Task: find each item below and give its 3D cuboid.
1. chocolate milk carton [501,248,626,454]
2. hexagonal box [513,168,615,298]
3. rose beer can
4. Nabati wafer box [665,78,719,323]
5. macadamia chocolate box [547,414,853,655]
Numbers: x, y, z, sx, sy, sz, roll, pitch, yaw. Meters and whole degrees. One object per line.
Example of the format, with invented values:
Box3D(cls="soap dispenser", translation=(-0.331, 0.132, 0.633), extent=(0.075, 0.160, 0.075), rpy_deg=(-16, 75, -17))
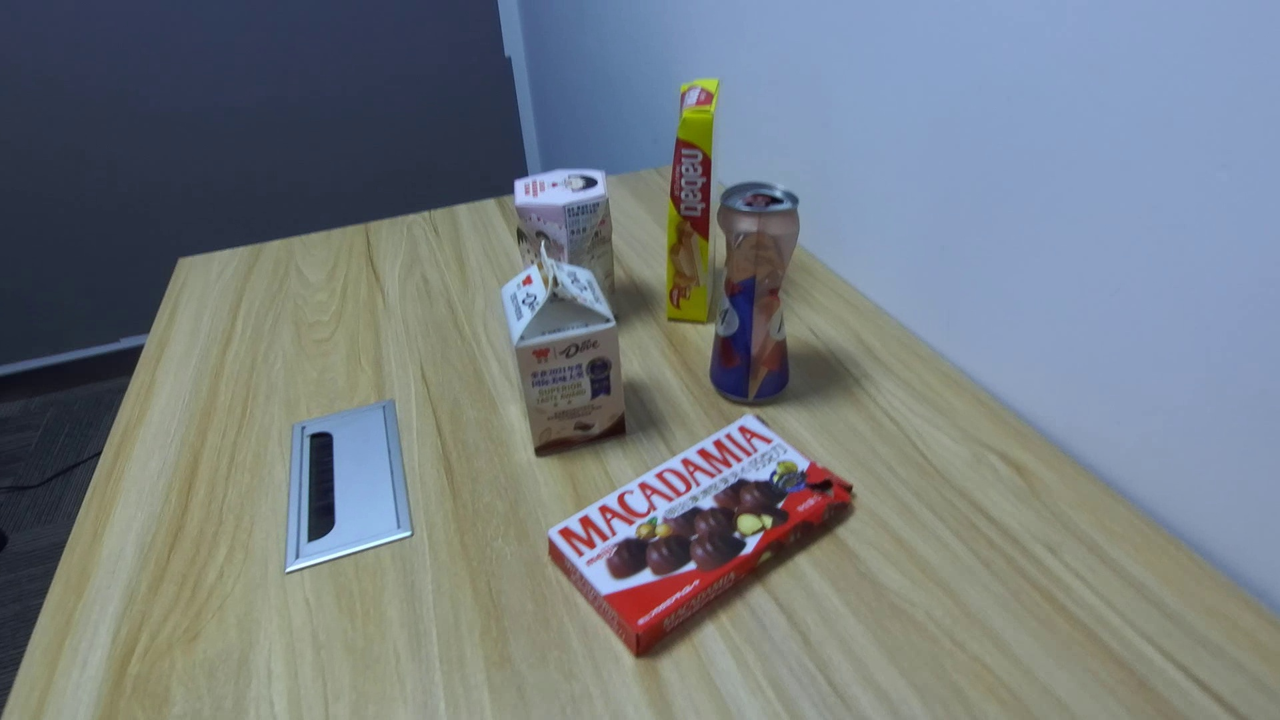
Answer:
Box3D(cls="chocolate milk carton", translation=(-0.057, -0.013, 0.518), extent=(0.074, 0.148, 0.075), rpy_deg=(-13, 38, -11))
Box3D(cls="hexagonal box", translation=(-0.067, -0.102, 0.658), extent=(0.093, 0.135, 0.088), rpy_deg=(-32, 45, -32))
Box3D(cls="rose beer can", translation=(0.088, -0.046, 0.540), extent=(0.065, 0.167, 0.076), rpy_deg=(6, 34, 11))
Box3D(cls="Nabati wafer box", translation=(0.048, -0.139, 0.638), extent=(0.042, 0.204, 0.096), rpy_deg=(6, 38, 10))
Box3D(cls="macadamia chocolate box", translation=(0.045, 0.102, 0.457), extent=(0.187, 0.027, 0.102), rpy_deg=(-27, 44, -28))
